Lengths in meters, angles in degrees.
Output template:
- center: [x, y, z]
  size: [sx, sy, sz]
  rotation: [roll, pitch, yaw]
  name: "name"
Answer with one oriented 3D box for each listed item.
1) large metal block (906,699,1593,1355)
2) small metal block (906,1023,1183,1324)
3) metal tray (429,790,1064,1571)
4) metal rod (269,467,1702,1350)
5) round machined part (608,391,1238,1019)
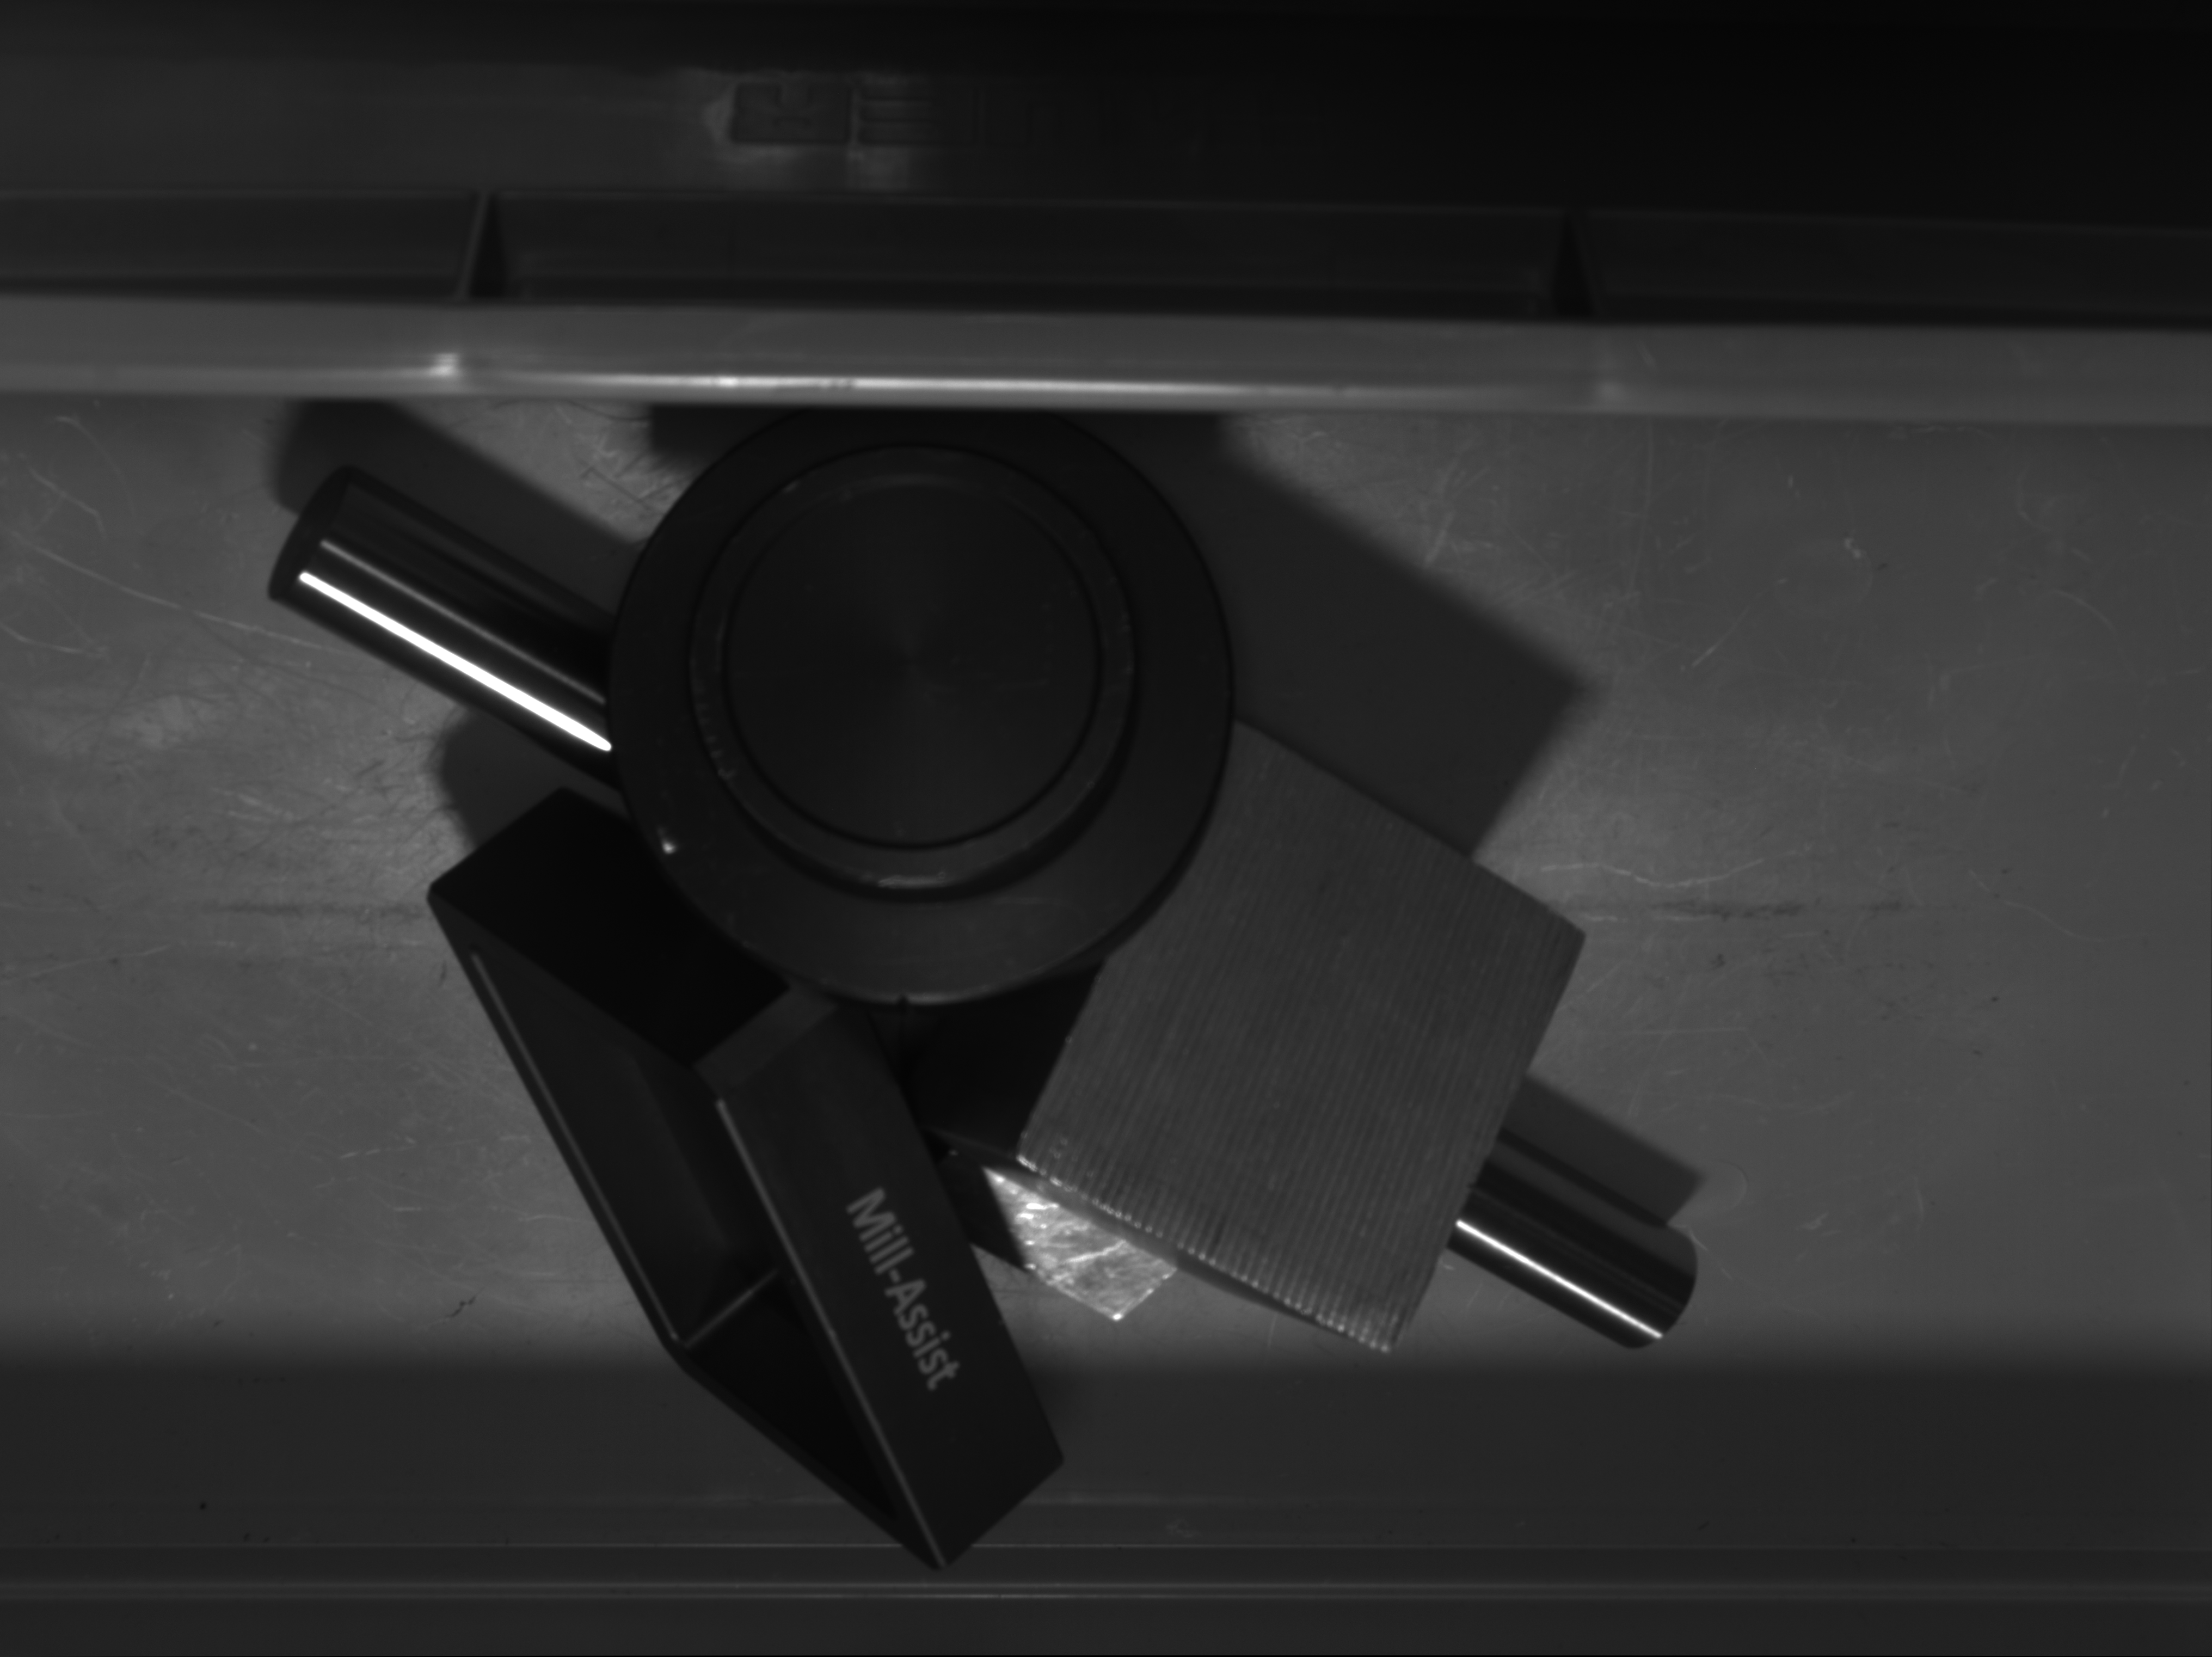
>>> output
- center: [0.023, 0.033, 0.623]
  size: [0.080, 0.050, 0.080]
  rotation: [30, 80, -24]
  name: "large metal block"
- center: [-0.009, 0.054, 0.665]
  size: [0.050, 0.050, 0.025]
  rotation: [31, 122, -25]
  name: "small metal block"
- center: [-0.063, 0.063, 0.647]
  size: [0.030, 0.090, 0.130]
  rotation: [-39, 132, -22]
  name: "metal tray"
- center: [-0.011, 0.021, 0.654]
  size: [0.301, 0.025, 0.025]
  rotation: [30, 123, -24]
  name: "metal rod"
- center: [-0.028, -0.021, 0.568]
  size: [0.098, 0.098, 0.042]
  rotation: [-1, 170, -1]
  name: "round machined part"
